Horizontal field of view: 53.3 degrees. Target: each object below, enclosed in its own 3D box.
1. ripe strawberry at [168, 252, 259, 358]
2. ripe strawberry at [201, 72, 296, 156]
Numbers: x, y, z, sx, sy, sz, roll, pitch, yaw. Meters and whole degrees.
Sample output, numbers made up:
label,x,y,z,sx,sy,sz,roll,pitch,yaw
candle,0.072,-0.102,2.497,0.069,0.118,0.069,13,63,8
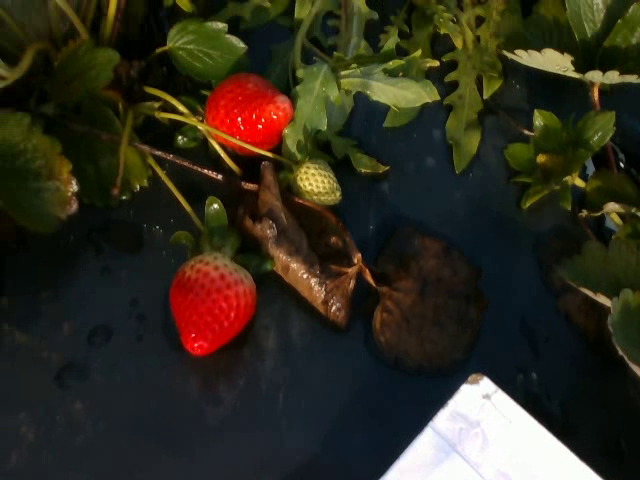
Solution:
label,x,y,z,sx,sy,sz,roll,pitch,yaw
ripe strawberry,-0.040,0.023,0.226,0.035,0.043,0.030,7,-32,2
ripe strawberry,-0.028,-0.057,0.266,0.048,0.040,0.032,1,-40,49
